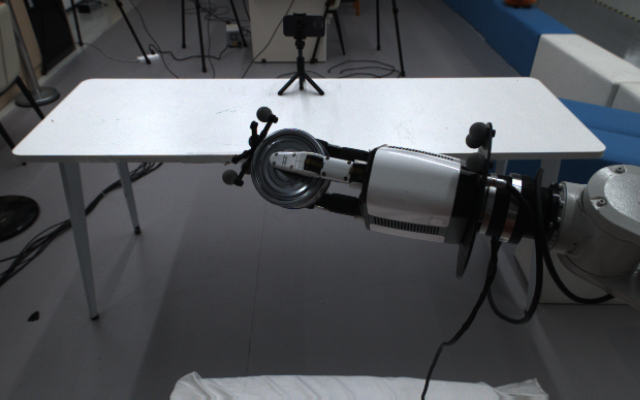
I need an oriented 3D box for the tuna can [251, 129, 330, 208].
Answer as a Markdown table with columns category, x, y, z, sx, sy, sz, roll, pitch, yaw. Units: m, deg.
| category | x | y | z | sx | sy | sz | roll | pitch | yaw |
| --- | --- | --- | --- | --- | --- | --- | --- | --- | --- |
| tuna can | -0.029 | -0.035 | 0.530 | 0.085 | 0.085 | 0.034 | 9 | -4 | 10 |
